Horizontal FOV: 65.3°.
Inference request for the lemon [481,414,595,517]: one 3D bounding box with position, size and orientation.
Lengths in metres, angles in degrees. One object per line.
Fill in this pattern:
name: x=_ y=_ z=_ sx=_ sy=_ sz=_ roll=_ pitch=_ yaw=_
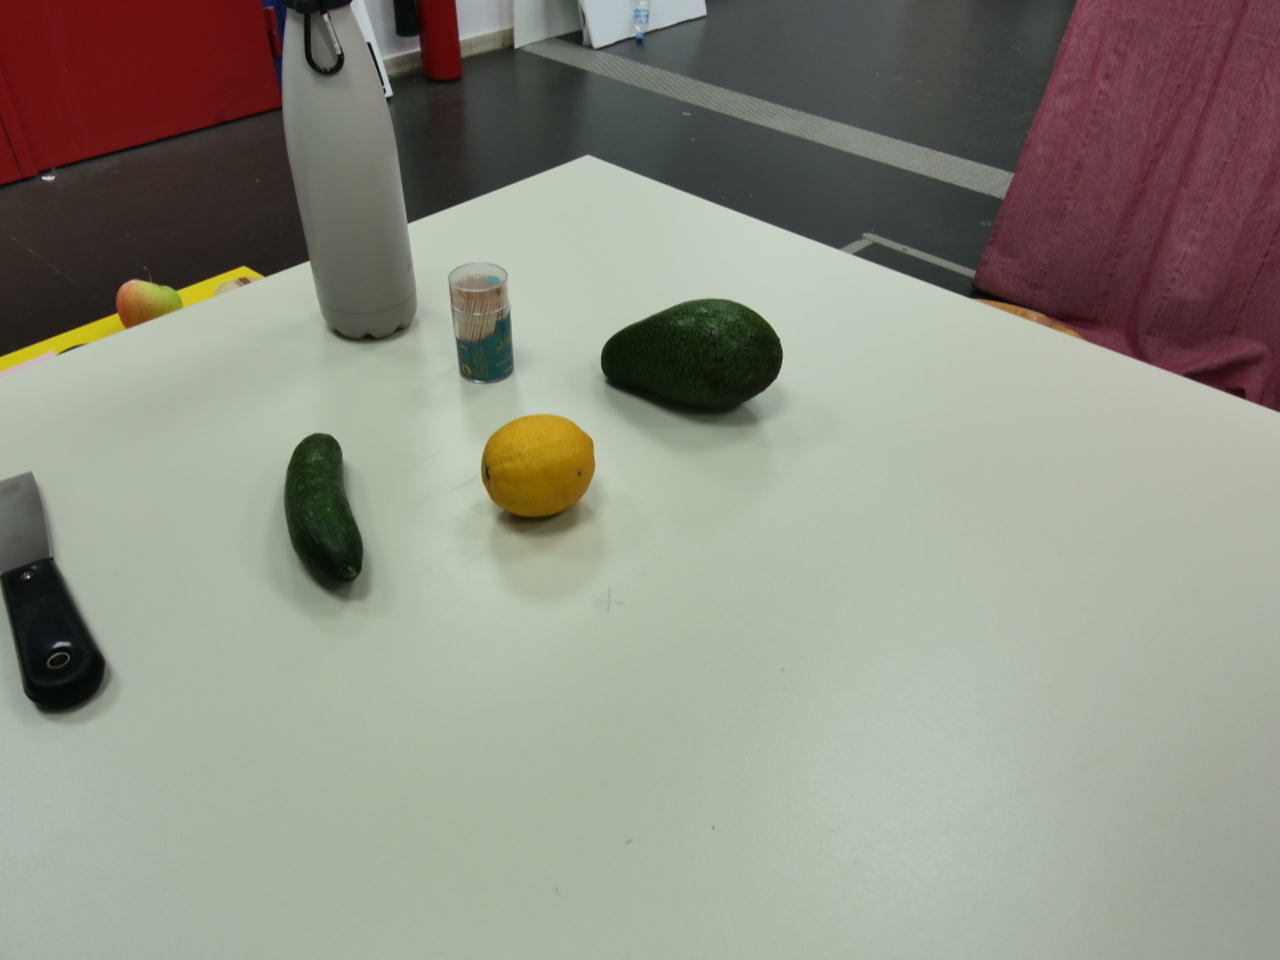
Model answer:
lemon: x=-0.060 y=-0.008 z=0.585 sx=0.067 sy=0.059 sz=0.060 roll=-3 pitch=38 yaw=-6
